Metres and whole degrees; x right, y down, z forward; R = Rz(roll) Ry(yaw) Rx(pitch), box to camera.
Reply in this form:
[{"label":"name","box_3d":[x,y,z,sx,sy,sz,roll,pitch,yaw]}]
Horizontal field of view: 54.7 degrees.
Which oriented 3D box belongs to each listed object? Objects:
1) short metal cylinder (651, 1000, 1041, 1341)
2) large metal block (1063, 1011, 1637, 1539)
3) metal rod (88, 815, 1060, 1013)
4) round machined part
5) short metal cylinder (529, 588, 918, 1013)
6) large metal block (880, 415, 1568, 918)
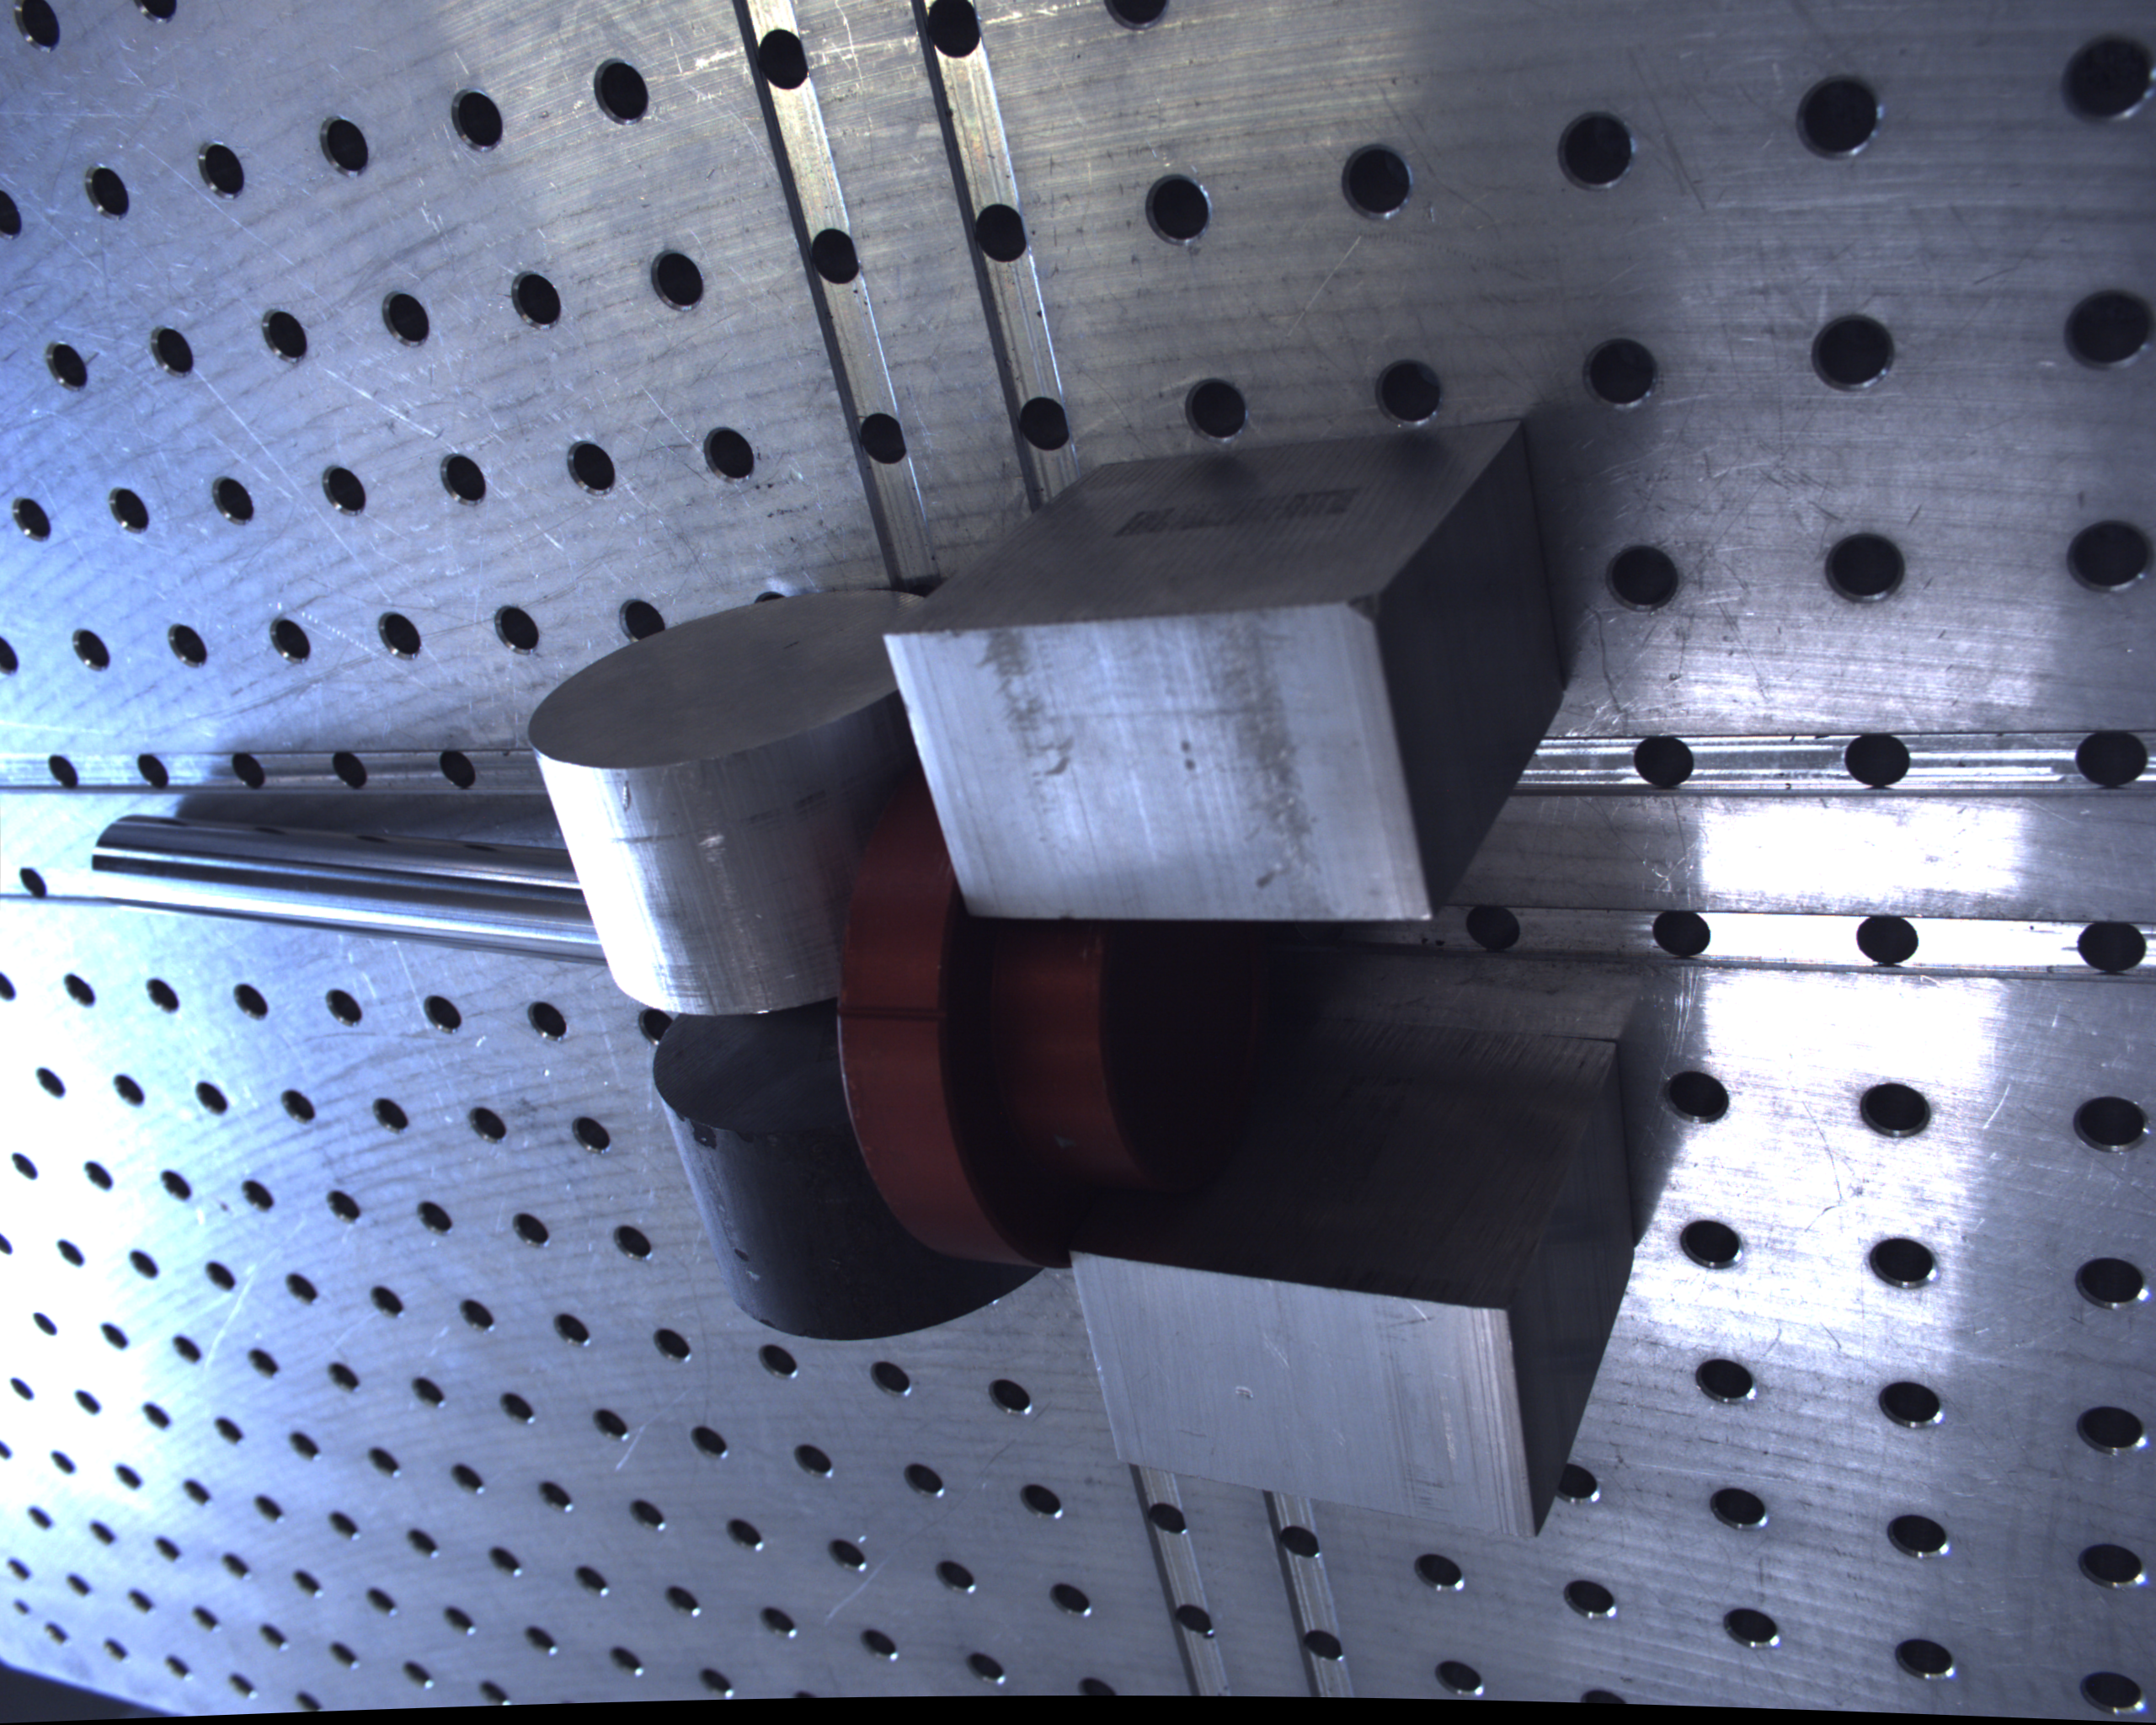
[{"label":"short metal cylinder","box_3d":[-0.041,0.052,0.429,0.080,0.080,0.050,2,120,27]},{"label":"large metal block","box_3d":[0.055,0.072,0.392,0.080,0.080,0.050,3,120,27]},{"label":"metal rod","box_3d":[-0.115,0.010,0.463,0.300,0.025,0.025,4,121,30]},{"label":"round machined part","box_3d":[0.002,0.024,0.377,0.042,0.098,0.097,1,119,28]},{"label":"short metal cylinder","box_3d":[-0.057,-0.014,0.397,0.080,0.080,0.050,1,119,28]},{"label":"large metal block","box_3d":[0.028,-0.033,0.342,0.080,0.080,0.050,0,118,28]}]
